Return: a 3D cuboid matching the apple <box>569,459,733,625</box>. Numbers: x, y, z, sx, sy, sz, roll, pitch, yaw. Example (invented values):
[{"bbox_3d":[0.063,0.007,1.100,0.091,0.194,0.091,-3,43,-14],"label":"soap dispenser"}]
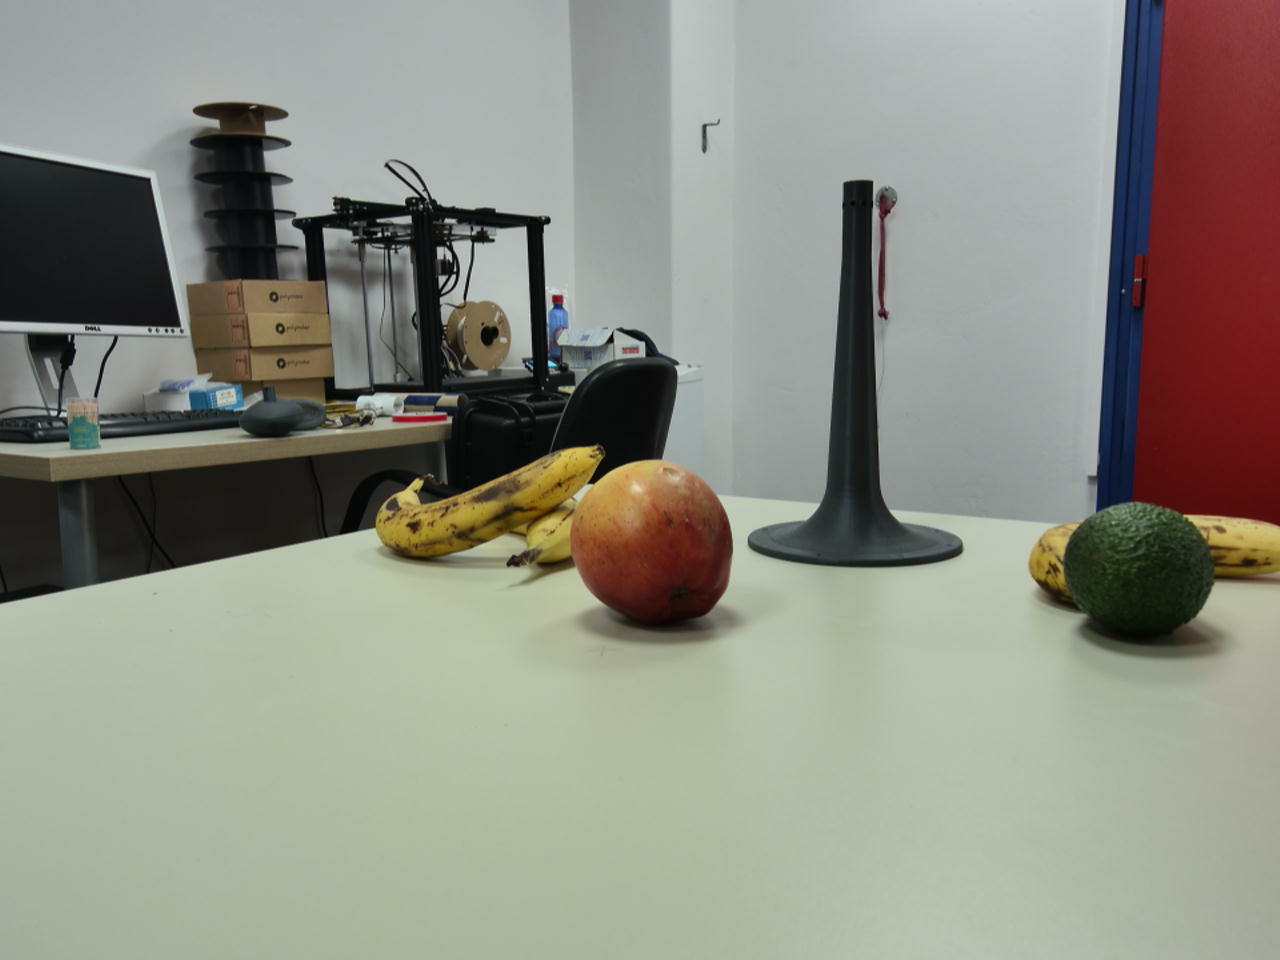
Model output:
[{"bbox_3d":[0.006,0.032,0.539,0.086,0.084,0.093,0,6,0],"label":"apple"}]
